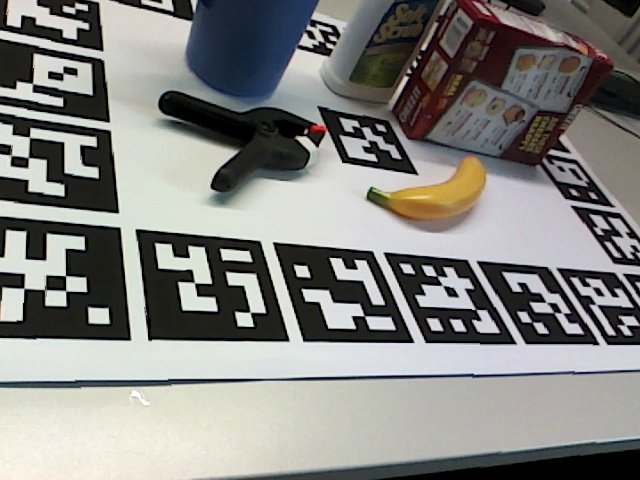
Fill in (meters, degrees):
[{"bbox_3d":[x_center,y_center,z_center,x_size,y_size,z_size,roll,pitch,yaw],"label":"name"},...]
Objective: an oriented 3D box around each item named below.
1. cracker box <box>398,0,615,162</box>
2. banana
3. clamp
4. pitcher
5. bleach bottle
[{"bbox_3d":[0.229,-0.195,0.776,0.212,0.164,0.072,5,41,-26],"label":"cracker box"},{"bbox_3d":[0.135,-0.056,0.698,0.074,0.039,0.196,40,39,15],"label":"banana"},{"bbox_3d":[-0.061,-0.093,0.605,0.164,0.036,0.122,-9,50,-41],"label":"clamp"},{"bbox_3d":[-0.062,-0.275,0.609,0.187,0.243,0.134,-11,52,-43],"label":"pitcher"},{"bbox_3d":[0.083,-0.278,0.735,0.102,0.251,0.068,4,43,-28],"label":"bleach bottle"}]
